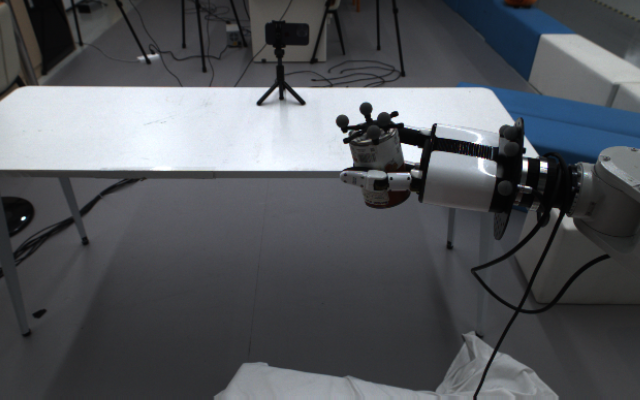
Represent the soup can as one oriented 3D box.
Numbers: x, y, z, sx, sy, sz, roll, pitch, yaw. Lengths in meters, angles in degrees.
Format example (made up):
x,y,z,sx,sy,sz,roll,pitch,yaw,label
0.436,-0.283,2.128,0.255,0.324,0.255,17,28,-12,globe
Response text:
x,y,z,sx,sy,sz,roll,pitch,yaw,label
0.082,-0.049,0.655,0.067,0.101,0.067,-13,31,8,soup can
